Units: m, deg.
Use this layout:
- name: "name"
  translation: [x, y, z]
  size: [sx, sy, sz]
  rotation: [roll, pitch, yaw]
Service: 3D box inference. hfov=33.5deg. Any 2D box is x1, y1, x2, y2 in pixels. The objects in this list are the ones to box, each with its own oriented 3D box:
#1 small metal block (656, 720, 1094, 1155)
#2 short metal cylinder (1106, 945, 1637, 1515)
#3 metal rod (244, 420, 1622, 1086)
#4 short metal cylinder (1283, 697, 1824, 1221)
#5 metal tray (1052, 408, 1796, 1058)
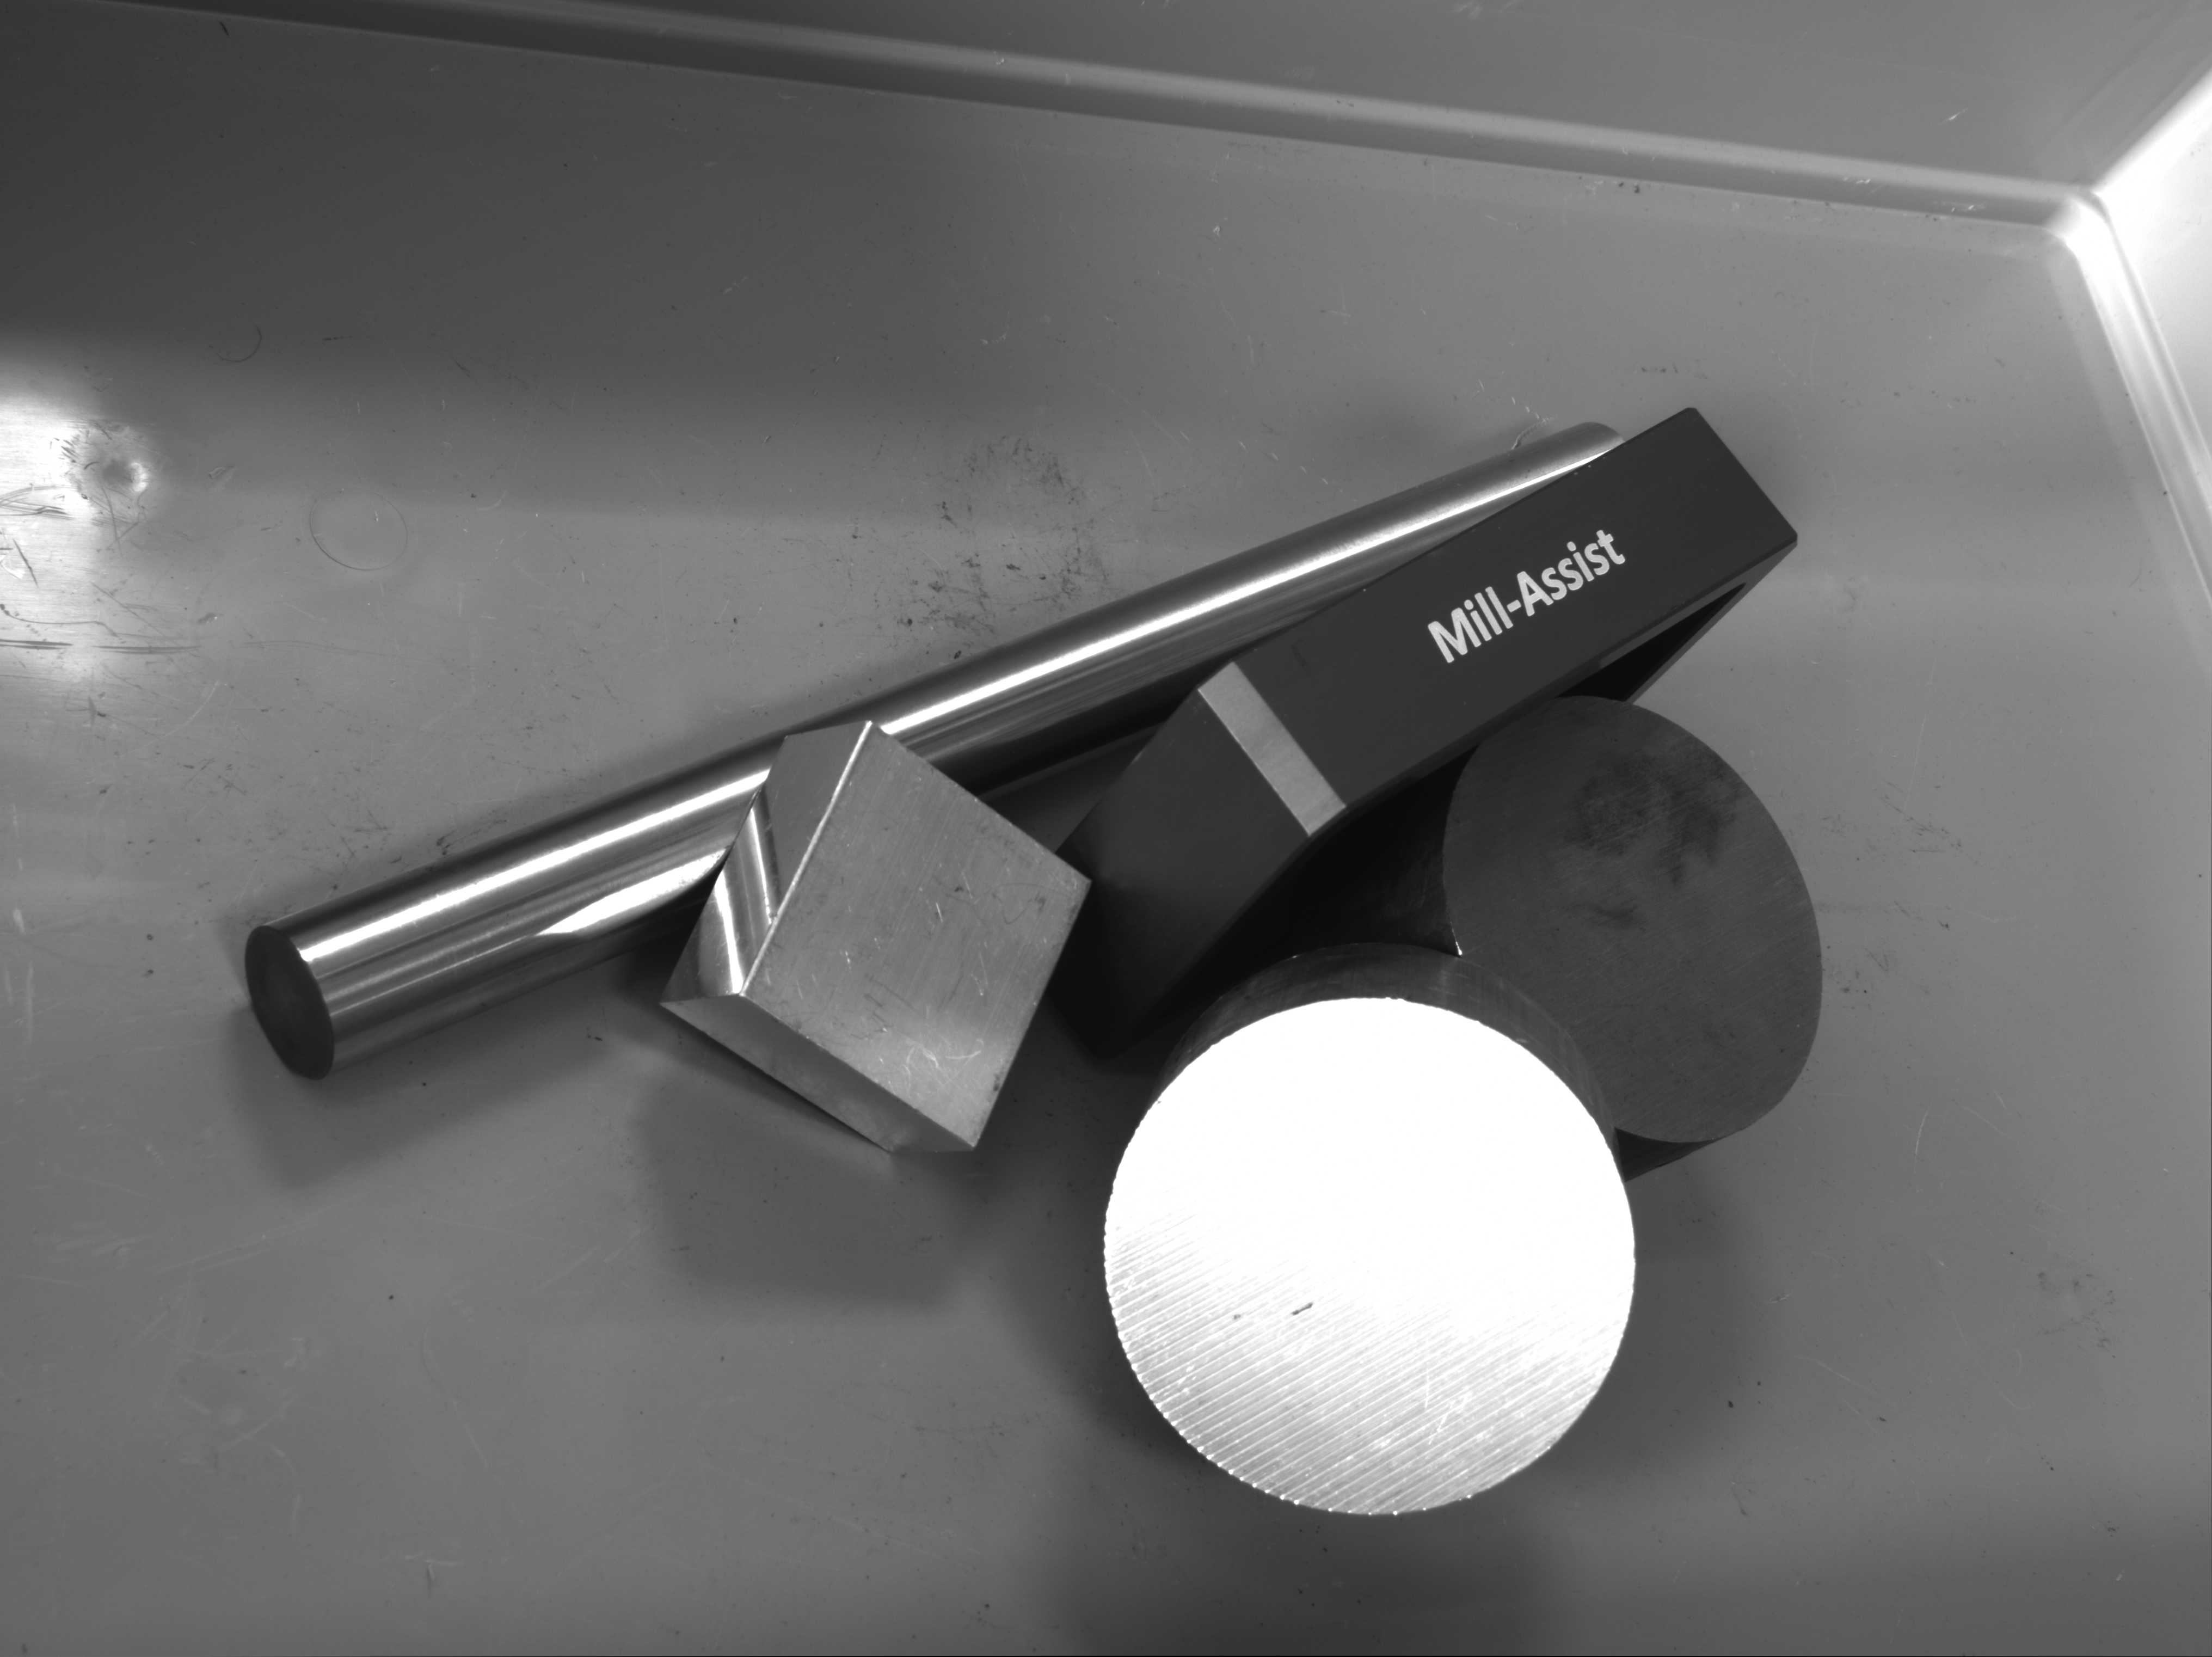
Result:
- name: "small metal block"
  translation: [-0.037, 0.018, 0.591]
  size: [0.050, 0.025, 0.050]
  rotation: [36, 65, -28]
- name: "short metal cylinder"
  translation: [0.042, 0.062, 0.579]
  size: [0.080, 0.080, 0.050]
  rotation: [40, 10, -1]
- name: "metal rod"
  translation: [-0.012, -0.021, 0.644]
  size: [0.301, 0.025, 0.025]
  rotation: [-23, 74, -36]
- name: "short metal cylinder"
  translation: [0.078, 0.023, 0.643]
  size: [0.080, 0.050, 0.080]
  rotation: [13, 64, -27]
- name: "metal tray"
  translation: [0.051, -0.017, 0.634]
  size: [0.130, 0.090, 0.030]
  rotation: [-30, 78, -37]
